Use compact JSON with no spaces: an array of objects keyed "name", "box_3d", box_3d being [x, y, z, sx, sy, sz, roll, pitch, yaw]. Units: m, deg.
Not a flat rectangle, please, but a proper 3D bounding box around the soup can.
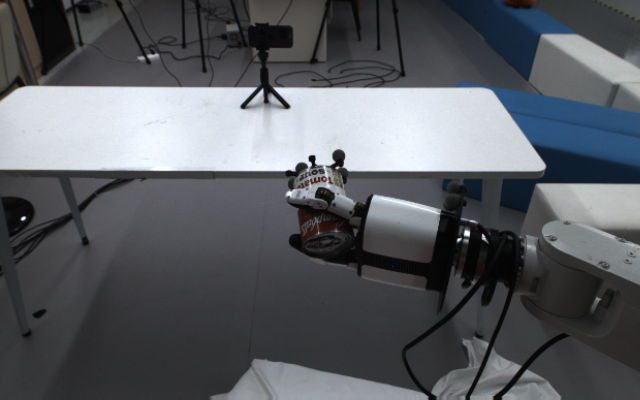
[{"name":"soup can","box_3d":[0.006,0.015,0.622,0.067,0.067,0.101,-5,57,-10]}]
